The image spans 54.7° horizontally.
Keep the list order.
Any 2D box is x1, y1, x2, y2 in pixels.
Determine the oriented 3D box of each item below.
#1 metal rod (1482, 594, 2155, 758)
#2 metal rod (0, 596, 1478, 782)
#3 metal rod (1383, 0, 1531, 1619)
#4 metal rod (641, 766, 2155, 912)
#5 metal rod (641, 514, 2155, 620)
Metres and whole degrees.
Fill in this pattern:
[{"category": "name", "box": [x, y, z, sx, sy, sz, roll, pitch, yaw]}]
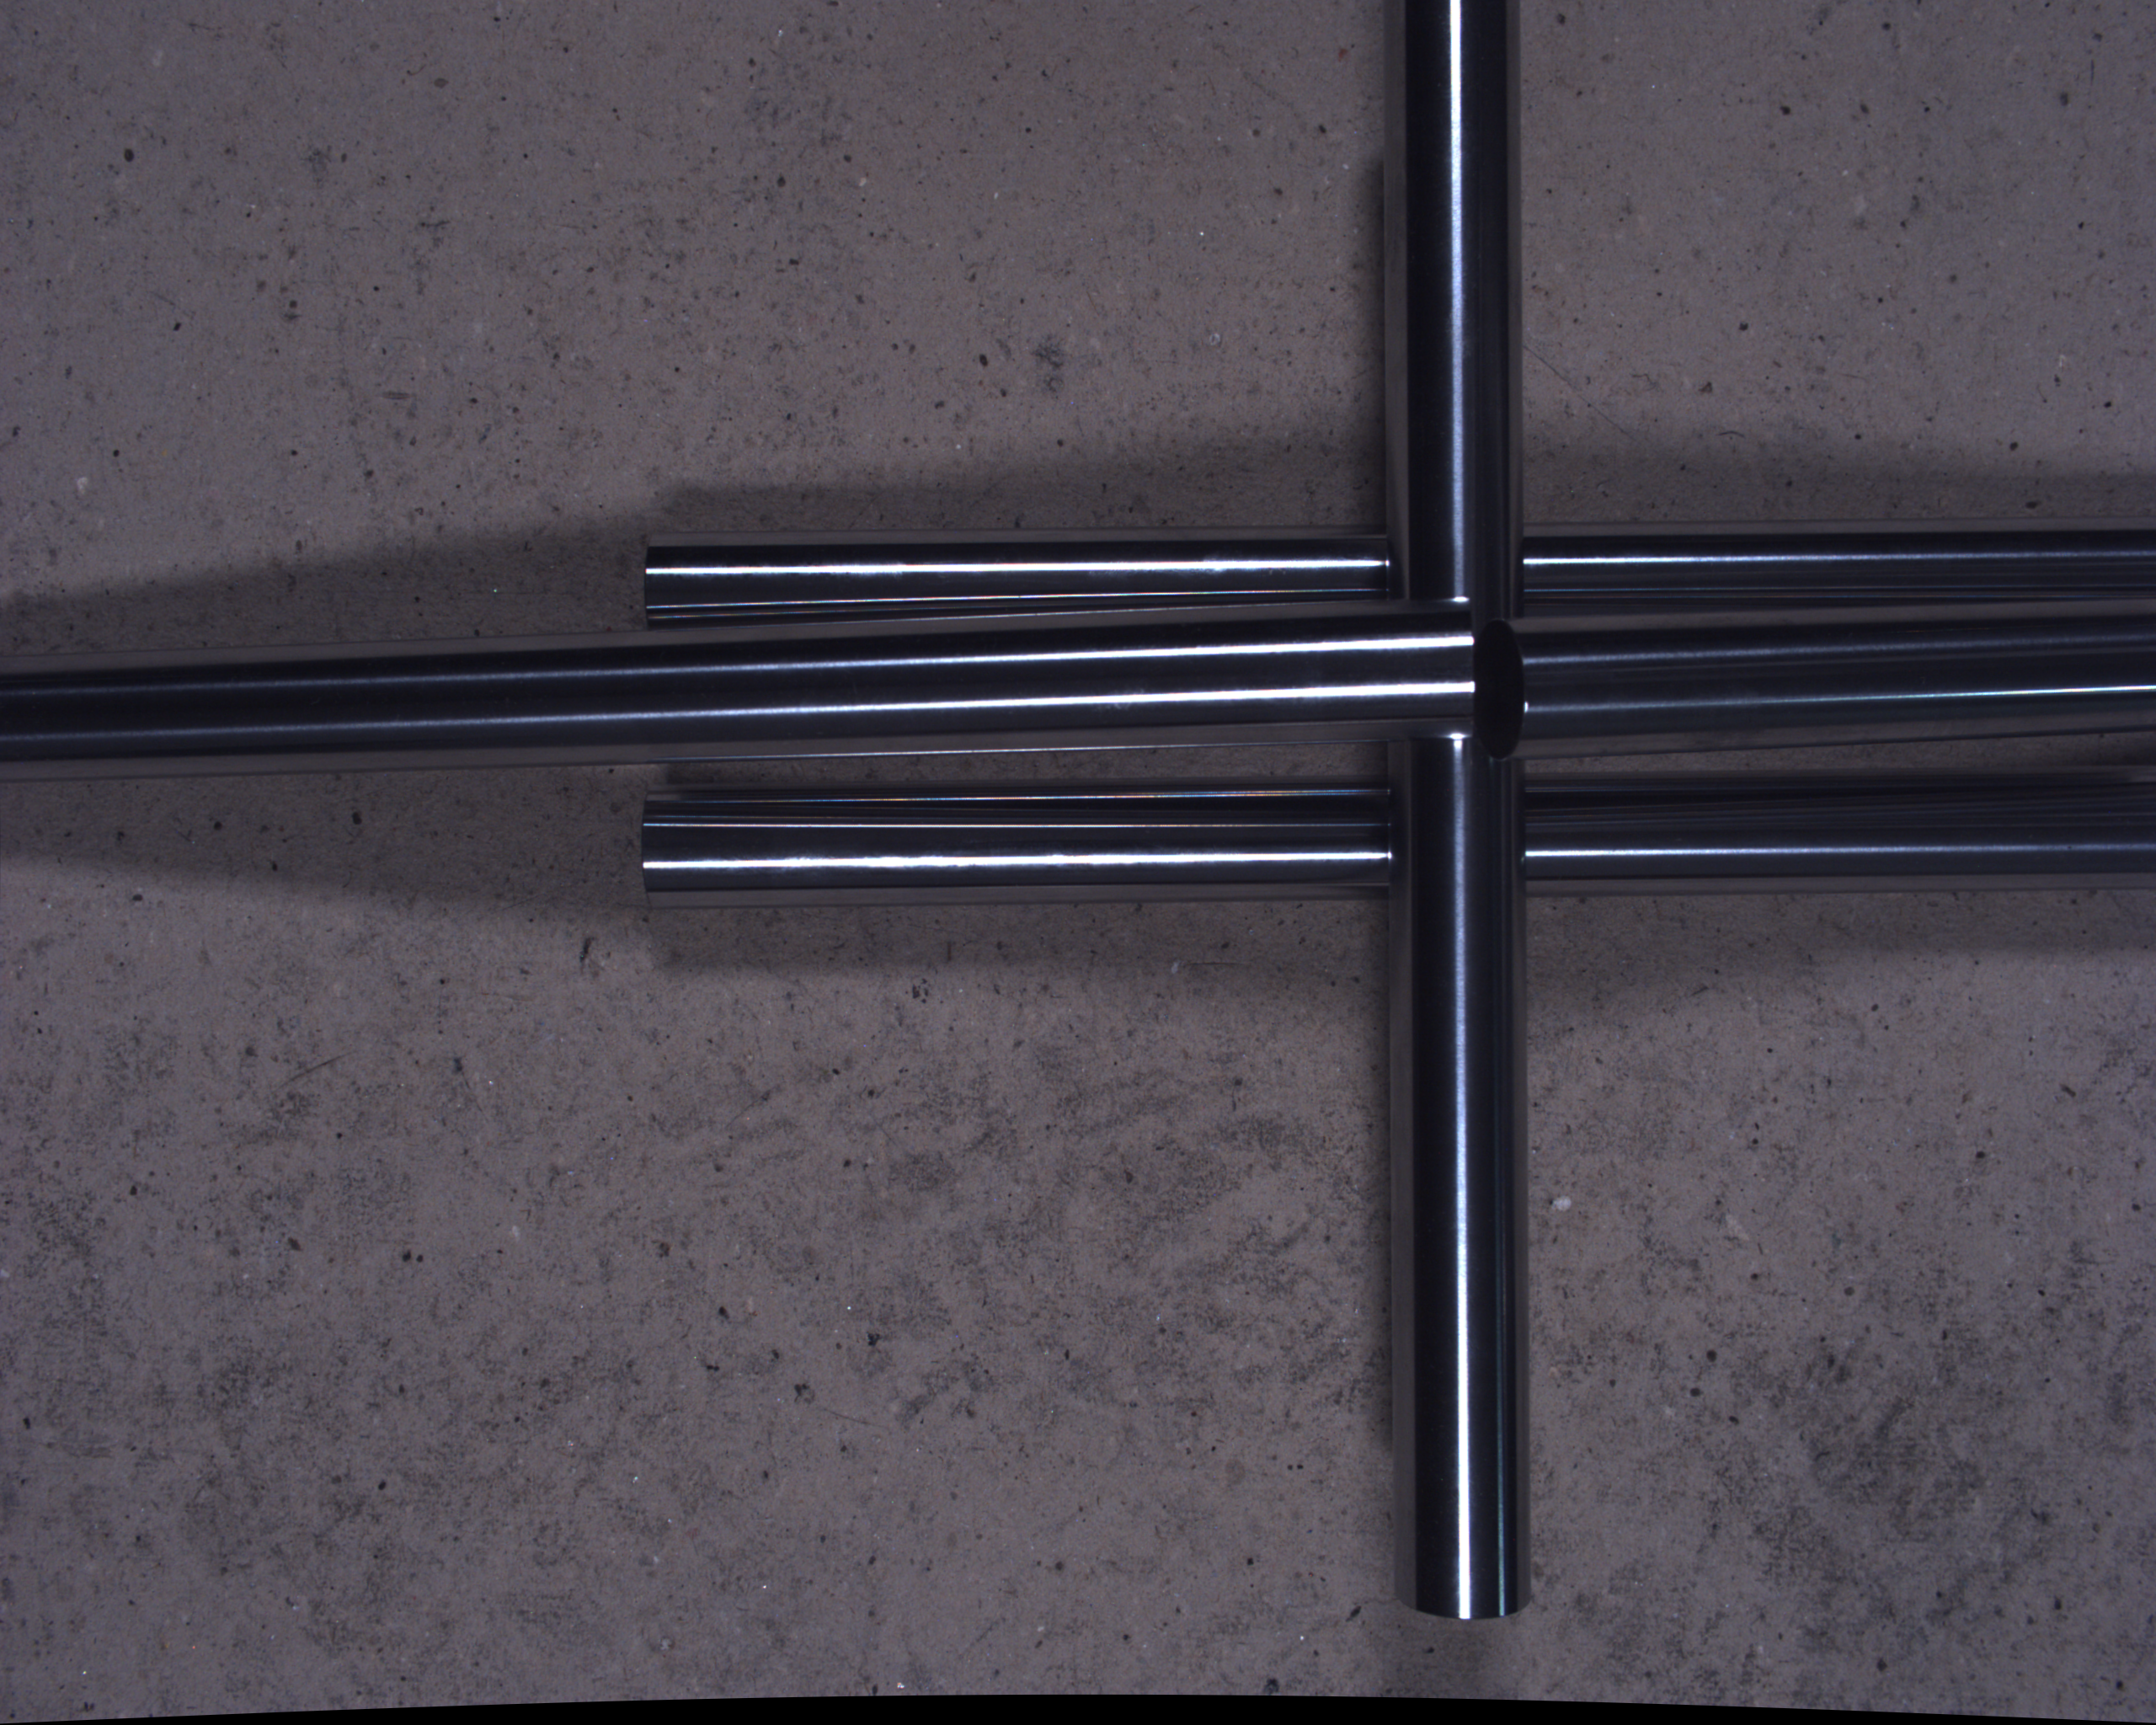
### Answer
[{"category": "metal rod", "box": [0.220, -0.038, 0.389, 0.302, 0.025, 0.025, -3, 90, -11]}, {"category": "metal rod", "box": [-0.080, -0.031, 0.385, 0.302, 0.025, 0.025, -1, 90, 9]}, {"category": "metal rod", "box": [0.070, -0.013, 0.387, 0.025, 0.025, 0.298, 0, 90, -1]}, {"category": "metal rod", "box": [0.068, -0.005, 0.411, 0.302, 0.025, 0.025, -1, 90, -1]}, {"category": "metal rod", "box": [0.068, -0.055, 0.411, 0.302, 0.025, 0.025, -1, 90, -1]}]
